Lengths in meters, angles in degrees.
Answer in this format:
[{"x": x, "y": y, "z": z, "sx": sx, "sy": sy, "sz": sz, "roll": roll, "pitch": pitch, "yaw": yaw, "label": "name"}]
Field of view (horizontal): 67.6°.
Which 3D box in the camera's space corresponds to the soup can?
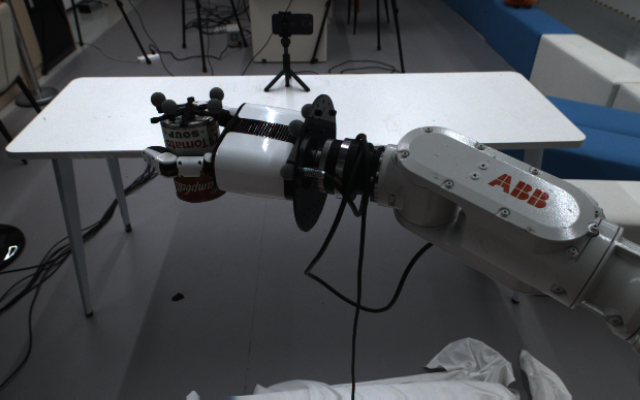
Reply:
[{"x": -0.151, "y": -0.056, "z": 0.595, "sx": 0.067, "sy": 0.101, "sz": 0.067, "roll": -2, "pitch": 32, "yaw": 1, "label": "soup can"}]
